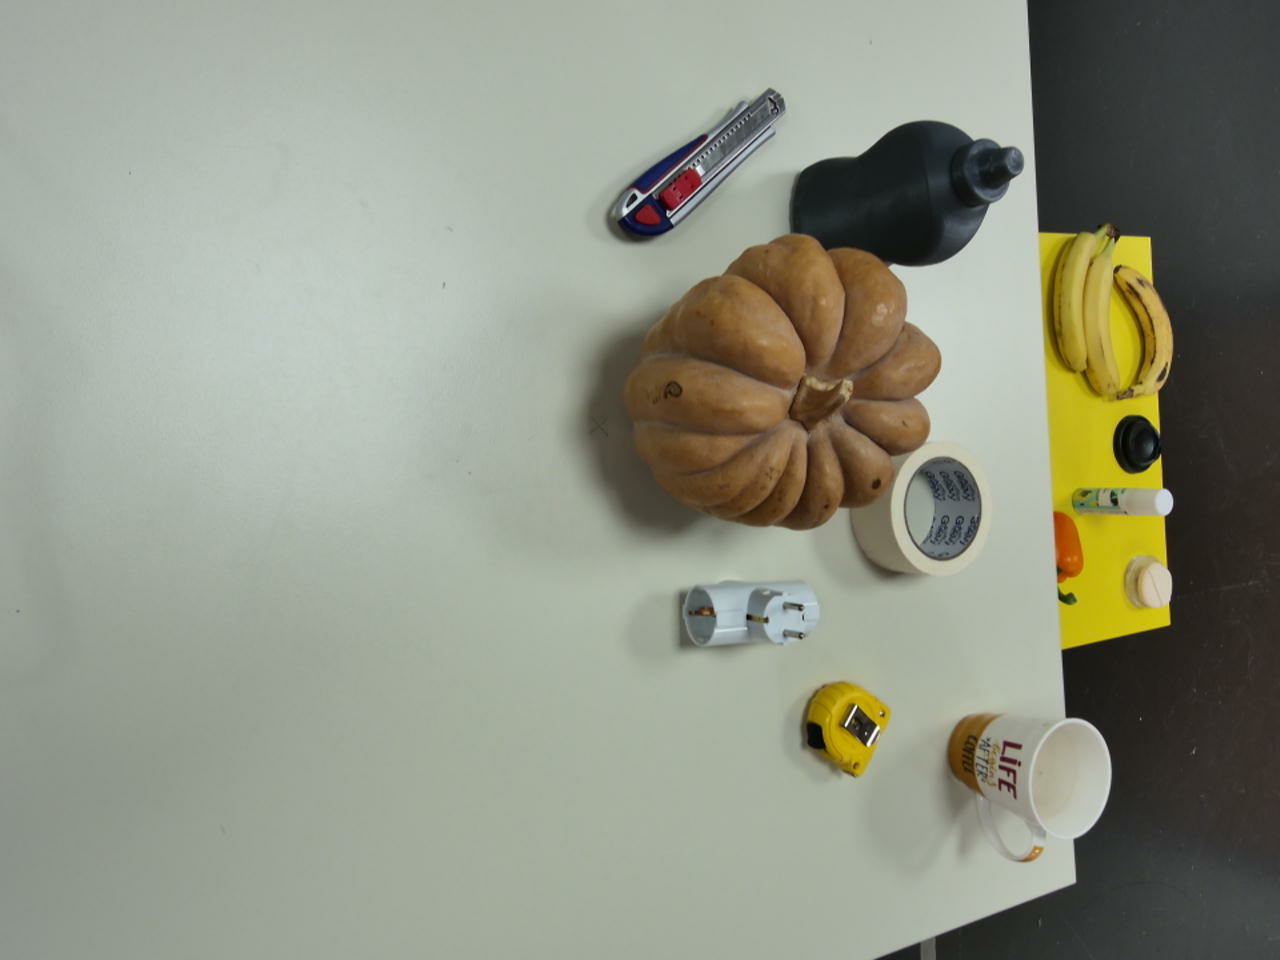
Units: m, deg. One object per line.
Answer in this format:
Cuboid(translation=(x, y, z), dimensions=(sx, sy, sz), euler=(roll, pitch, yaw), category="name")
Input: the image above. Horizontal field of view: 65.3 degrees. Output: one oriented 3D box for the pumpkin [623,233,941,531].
Cuboid(translation=(0.087, -0.060, 0.660), dimensions=(0.198, 0.177, 0.198), euler=(0, 90, -28), category="pumpkin")
